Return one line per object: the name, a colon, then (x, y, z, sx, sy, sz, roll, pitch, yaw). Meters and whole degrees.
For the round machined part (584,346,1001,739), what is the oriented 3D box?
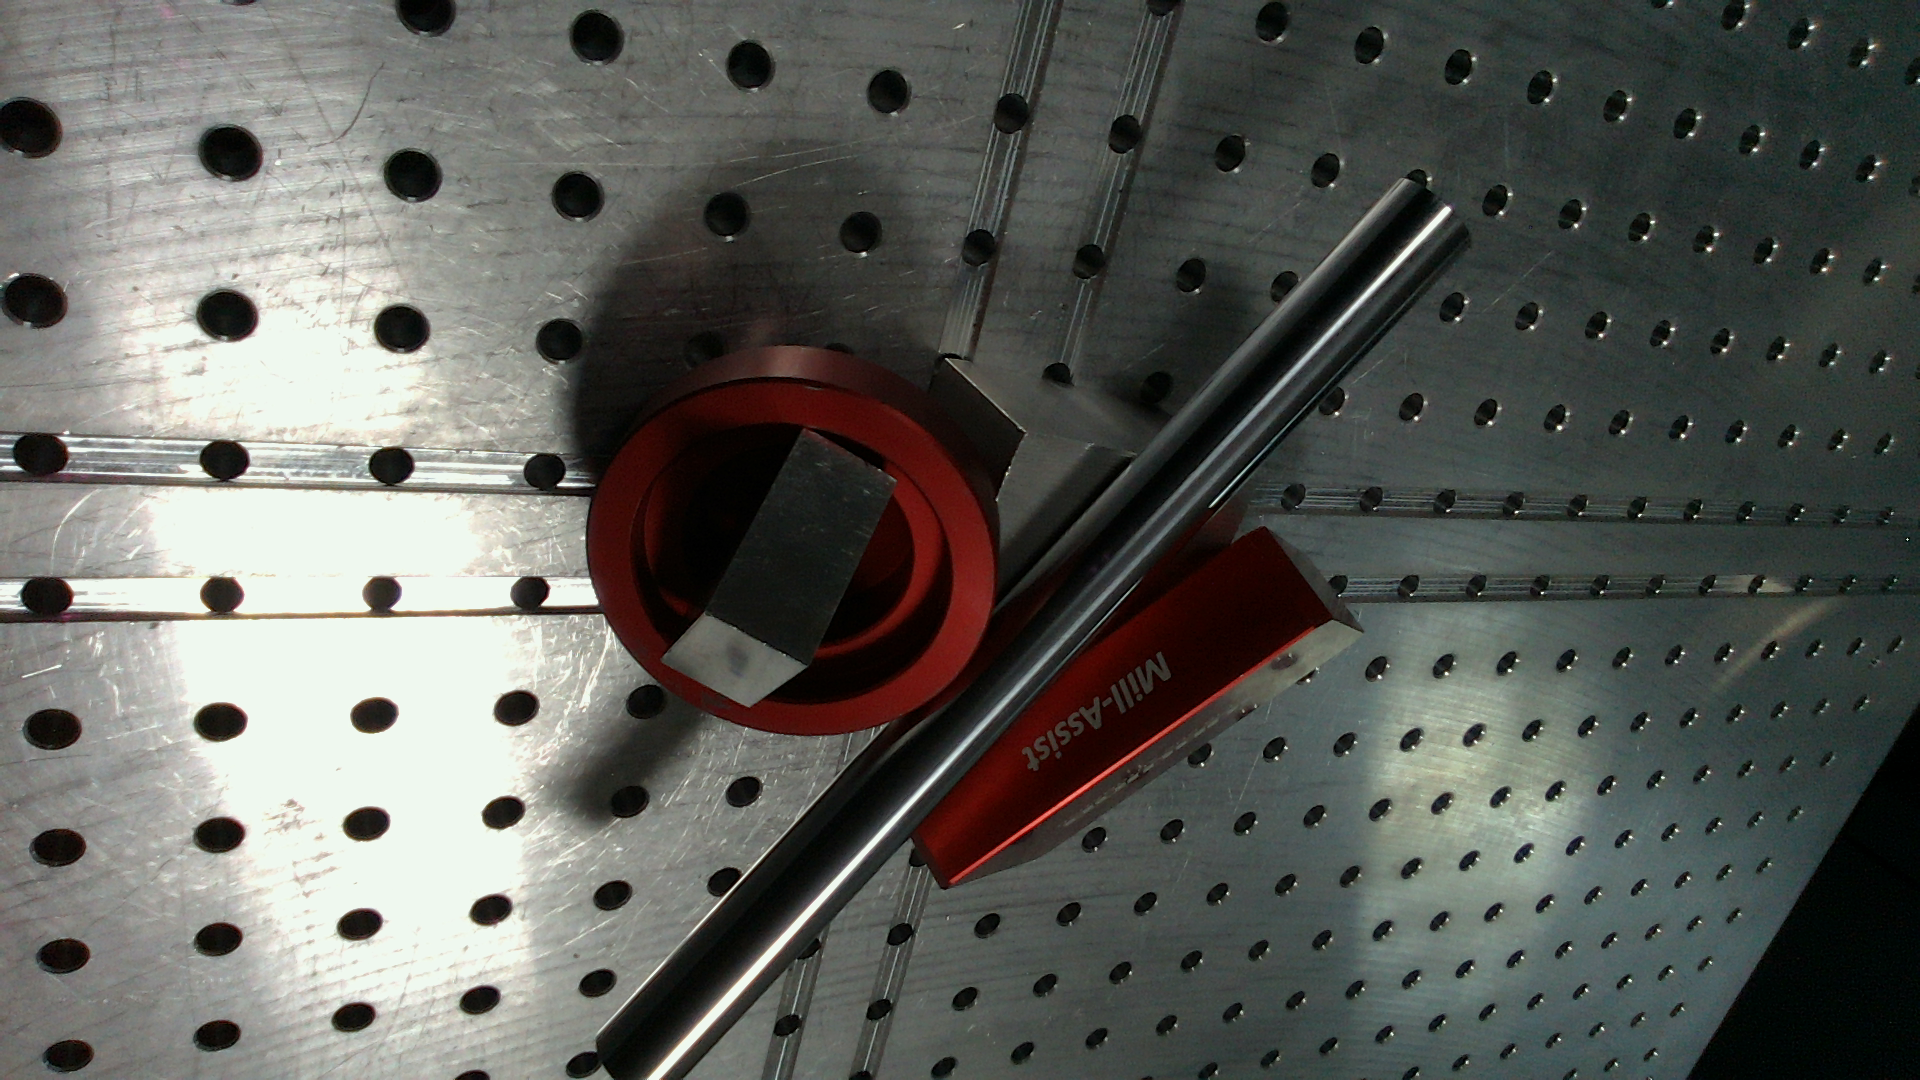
round machined part: (-0.039, -0.002, 0.342, 0.098, 0.042, 0.098, 0, 118, 0)

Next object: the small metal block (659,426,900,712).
small metal block: (-0.043, 0.008, 0.322, 0.025, 0.050, 0.050, 31, 64, -12)

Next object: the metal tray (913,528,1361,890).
metal tray: (0.052, 0.051, 0.405, 0.130, 0.030, 0.090, -37, 162, 14)

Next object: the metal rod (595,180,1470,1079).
metal rod: (0.015, 0.029, 0.353, 0.300, 0.025, 0.025, -47, 129, 5)

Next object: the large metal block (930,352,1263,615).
large metal block: (0.025, 0.001, 0.390, 0.080, 0.050, 0.080, 9, 114, -32)
